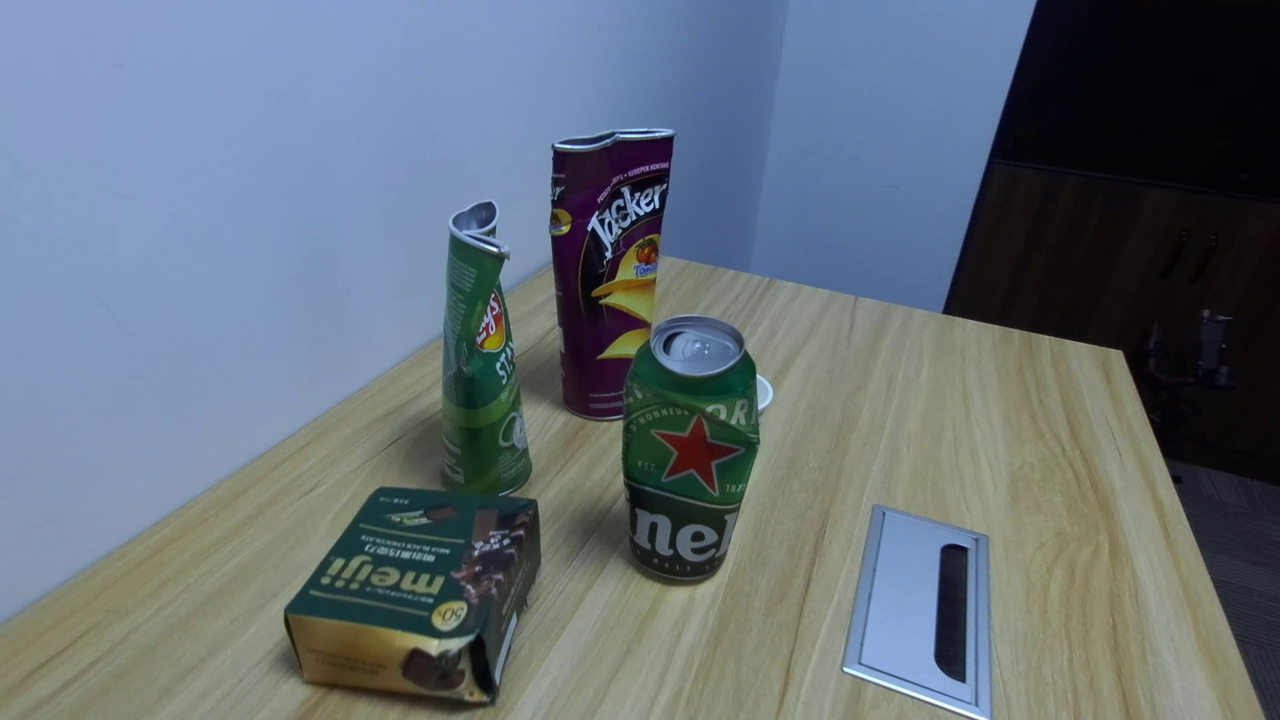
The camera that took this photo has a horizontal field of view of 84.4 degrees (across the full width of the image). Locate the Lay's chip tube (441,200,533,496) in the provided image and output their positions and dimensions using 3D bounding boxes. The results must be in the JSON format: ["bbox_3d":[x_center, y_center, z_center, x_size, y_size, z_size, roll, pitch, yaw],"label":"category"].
[{"bbox_3d":[-0.111,-0.001,0.496,0.069,0.201,0.077,-21,41,-37],"label":"Lay's chip tube"}]

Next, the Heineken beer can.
[{"bbox_3d":[0.029,0.061,0.435,0.069,0.168,0.068,-14,35,-24],"label":"Heineken beer can"}]

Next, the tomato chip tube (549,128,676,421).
[{"bbox_3d":[-0.027,-0.065,0.584,0.090,0.236,0.078,6,30,-1],"label":"tomato chip tube"}]

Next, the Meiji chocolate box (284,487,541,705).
[{"bbox_3d":[-0.125,0.131,0.411,0.115,0.058,0.122,5,28,6],"label":"Meiji chocolate box"}]
